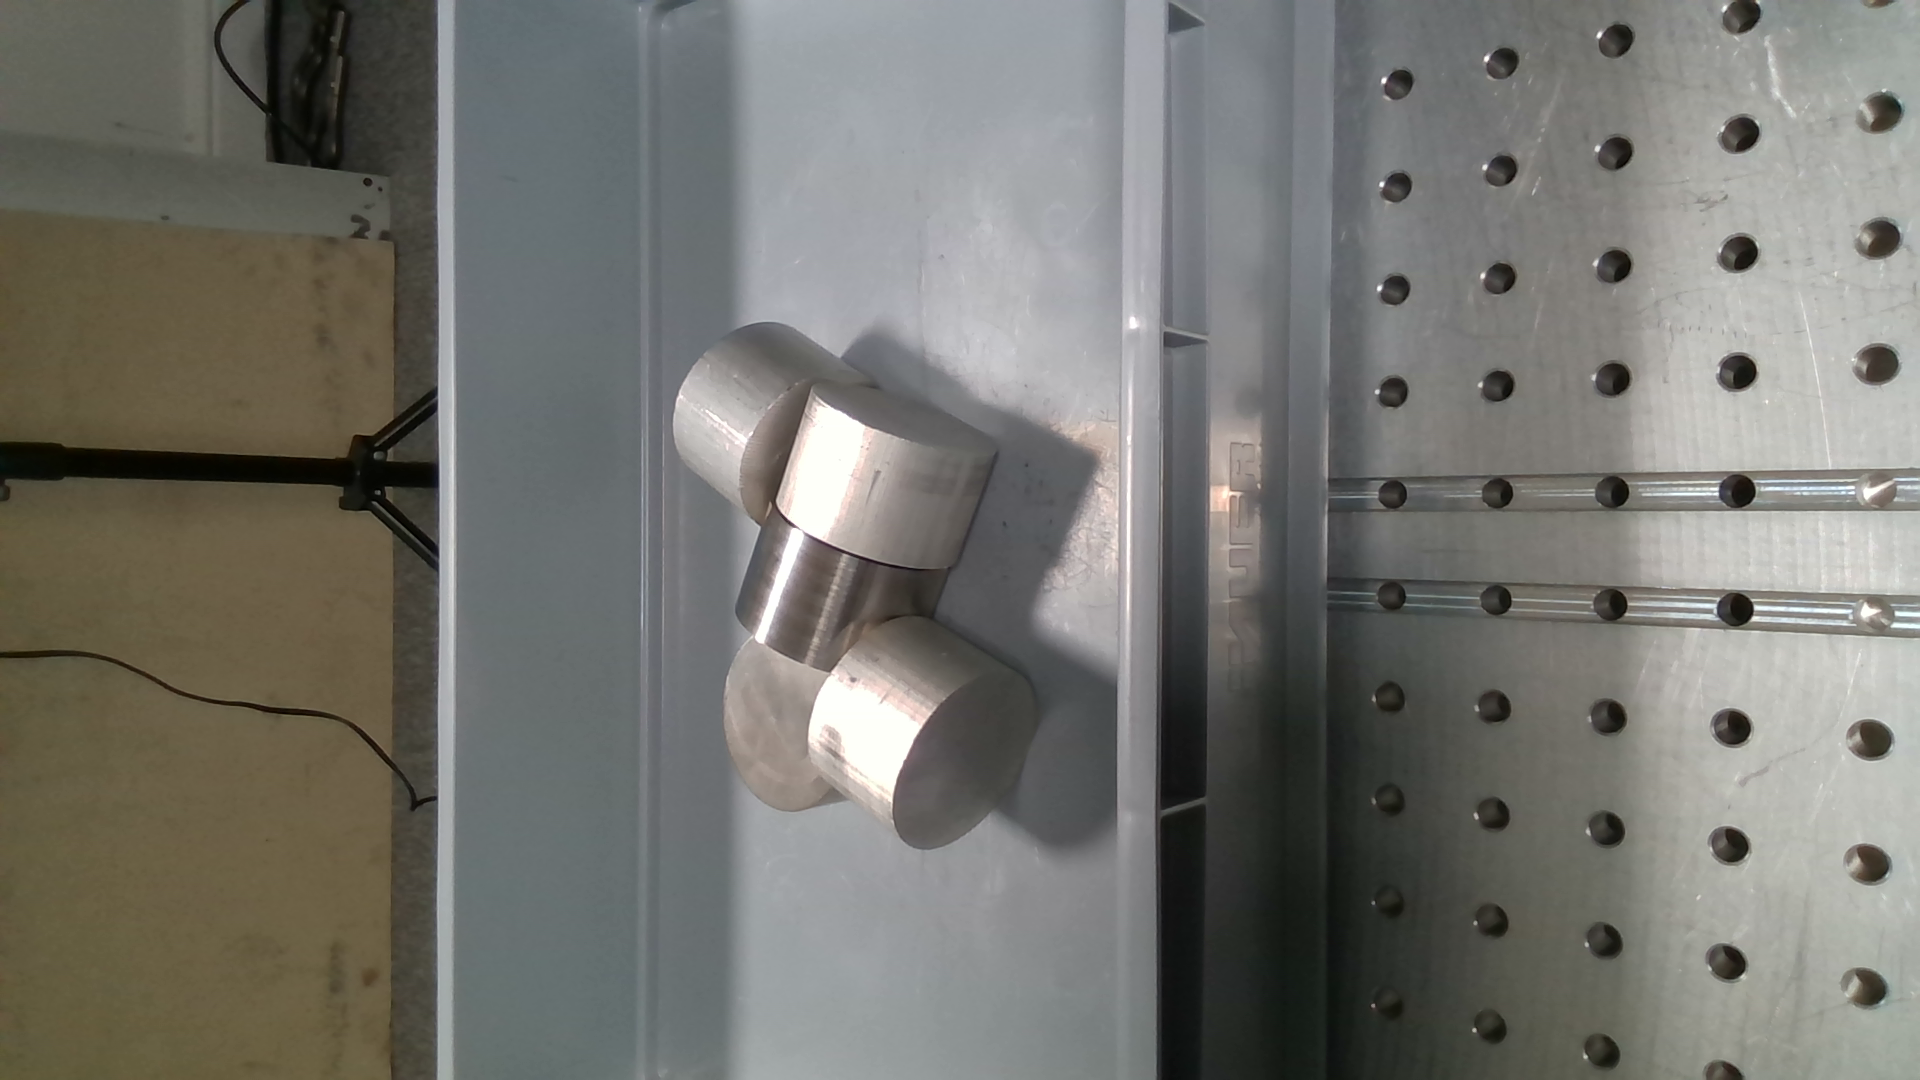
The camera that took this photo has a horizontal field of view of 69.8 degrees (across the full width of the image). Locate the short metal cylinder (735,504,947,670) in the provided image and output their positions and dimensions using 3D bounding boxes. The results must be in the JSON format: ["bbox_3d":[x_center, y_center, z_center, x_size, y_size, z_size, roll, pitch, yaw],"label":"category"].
[{"bbox_3d":[-0.050,0.017,0.587,0.080,0.080,0.050,33,111,35],"label":"short metal cylinder"}]

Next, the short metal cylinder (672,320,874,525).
[{"bbox_3d":[-0.080,-0.051,0.611,0.050,0.080,0.080,36,113,34],"label":"short metal cylinder"}]

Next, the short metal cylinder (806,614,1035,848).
[{"bbox_3d":[-0.015,0.077,0.558,0.050,0.080,0.080,29,109,36],"label":"short metal cylinder"}]

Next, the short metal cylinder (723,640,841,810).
[{"bbox_3d":[-0.061,0.077,0.616,0.080,0.050,0.080,0,91,40],"label":"short metal cylinder"}]

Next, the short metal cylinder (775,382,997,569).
[{"bbox_3d":[-0.031,-0.028,0.570,0.080,0.080,0.050,32,110,36],"label":"short metal cylinder"}]
